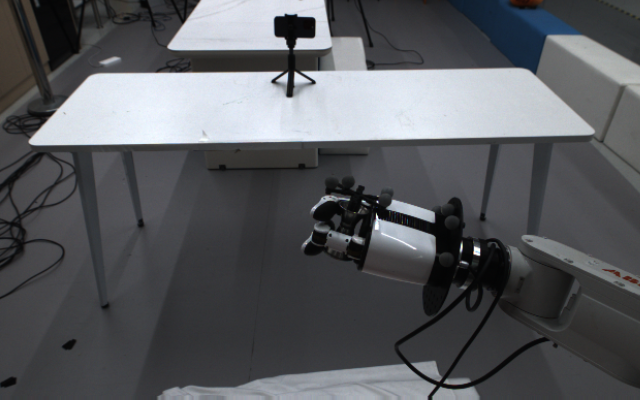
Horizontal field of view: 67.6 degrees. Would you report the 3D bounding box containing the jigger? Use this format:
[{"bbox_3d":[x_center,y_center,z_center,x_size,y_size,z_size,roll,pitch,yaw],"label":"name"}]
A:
[{"bbox_3d":[0.037,0.039,0.639,0.043,0.071,0.043,15,17,-5],"label":"jigger"}]
